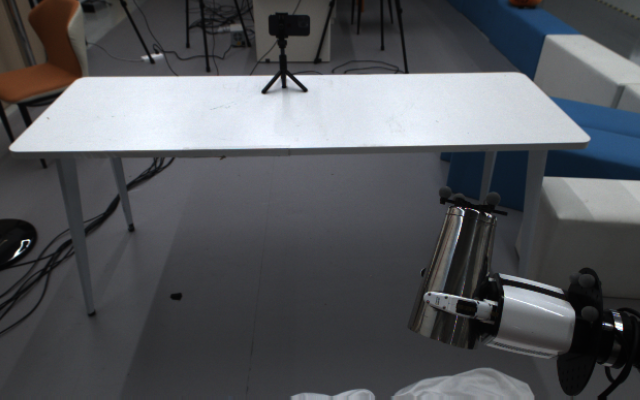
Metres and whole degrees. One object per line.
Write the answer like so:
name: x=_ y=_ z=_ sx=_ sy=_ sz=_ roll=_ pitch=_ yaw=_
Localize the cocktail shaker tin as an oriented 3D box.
cocktail shaker tin: x=0.183 y=0.099 z=0.644 sx=0.093 sy=0.170 sz=0.093 roll=15 pitch=-4 yaw=1
